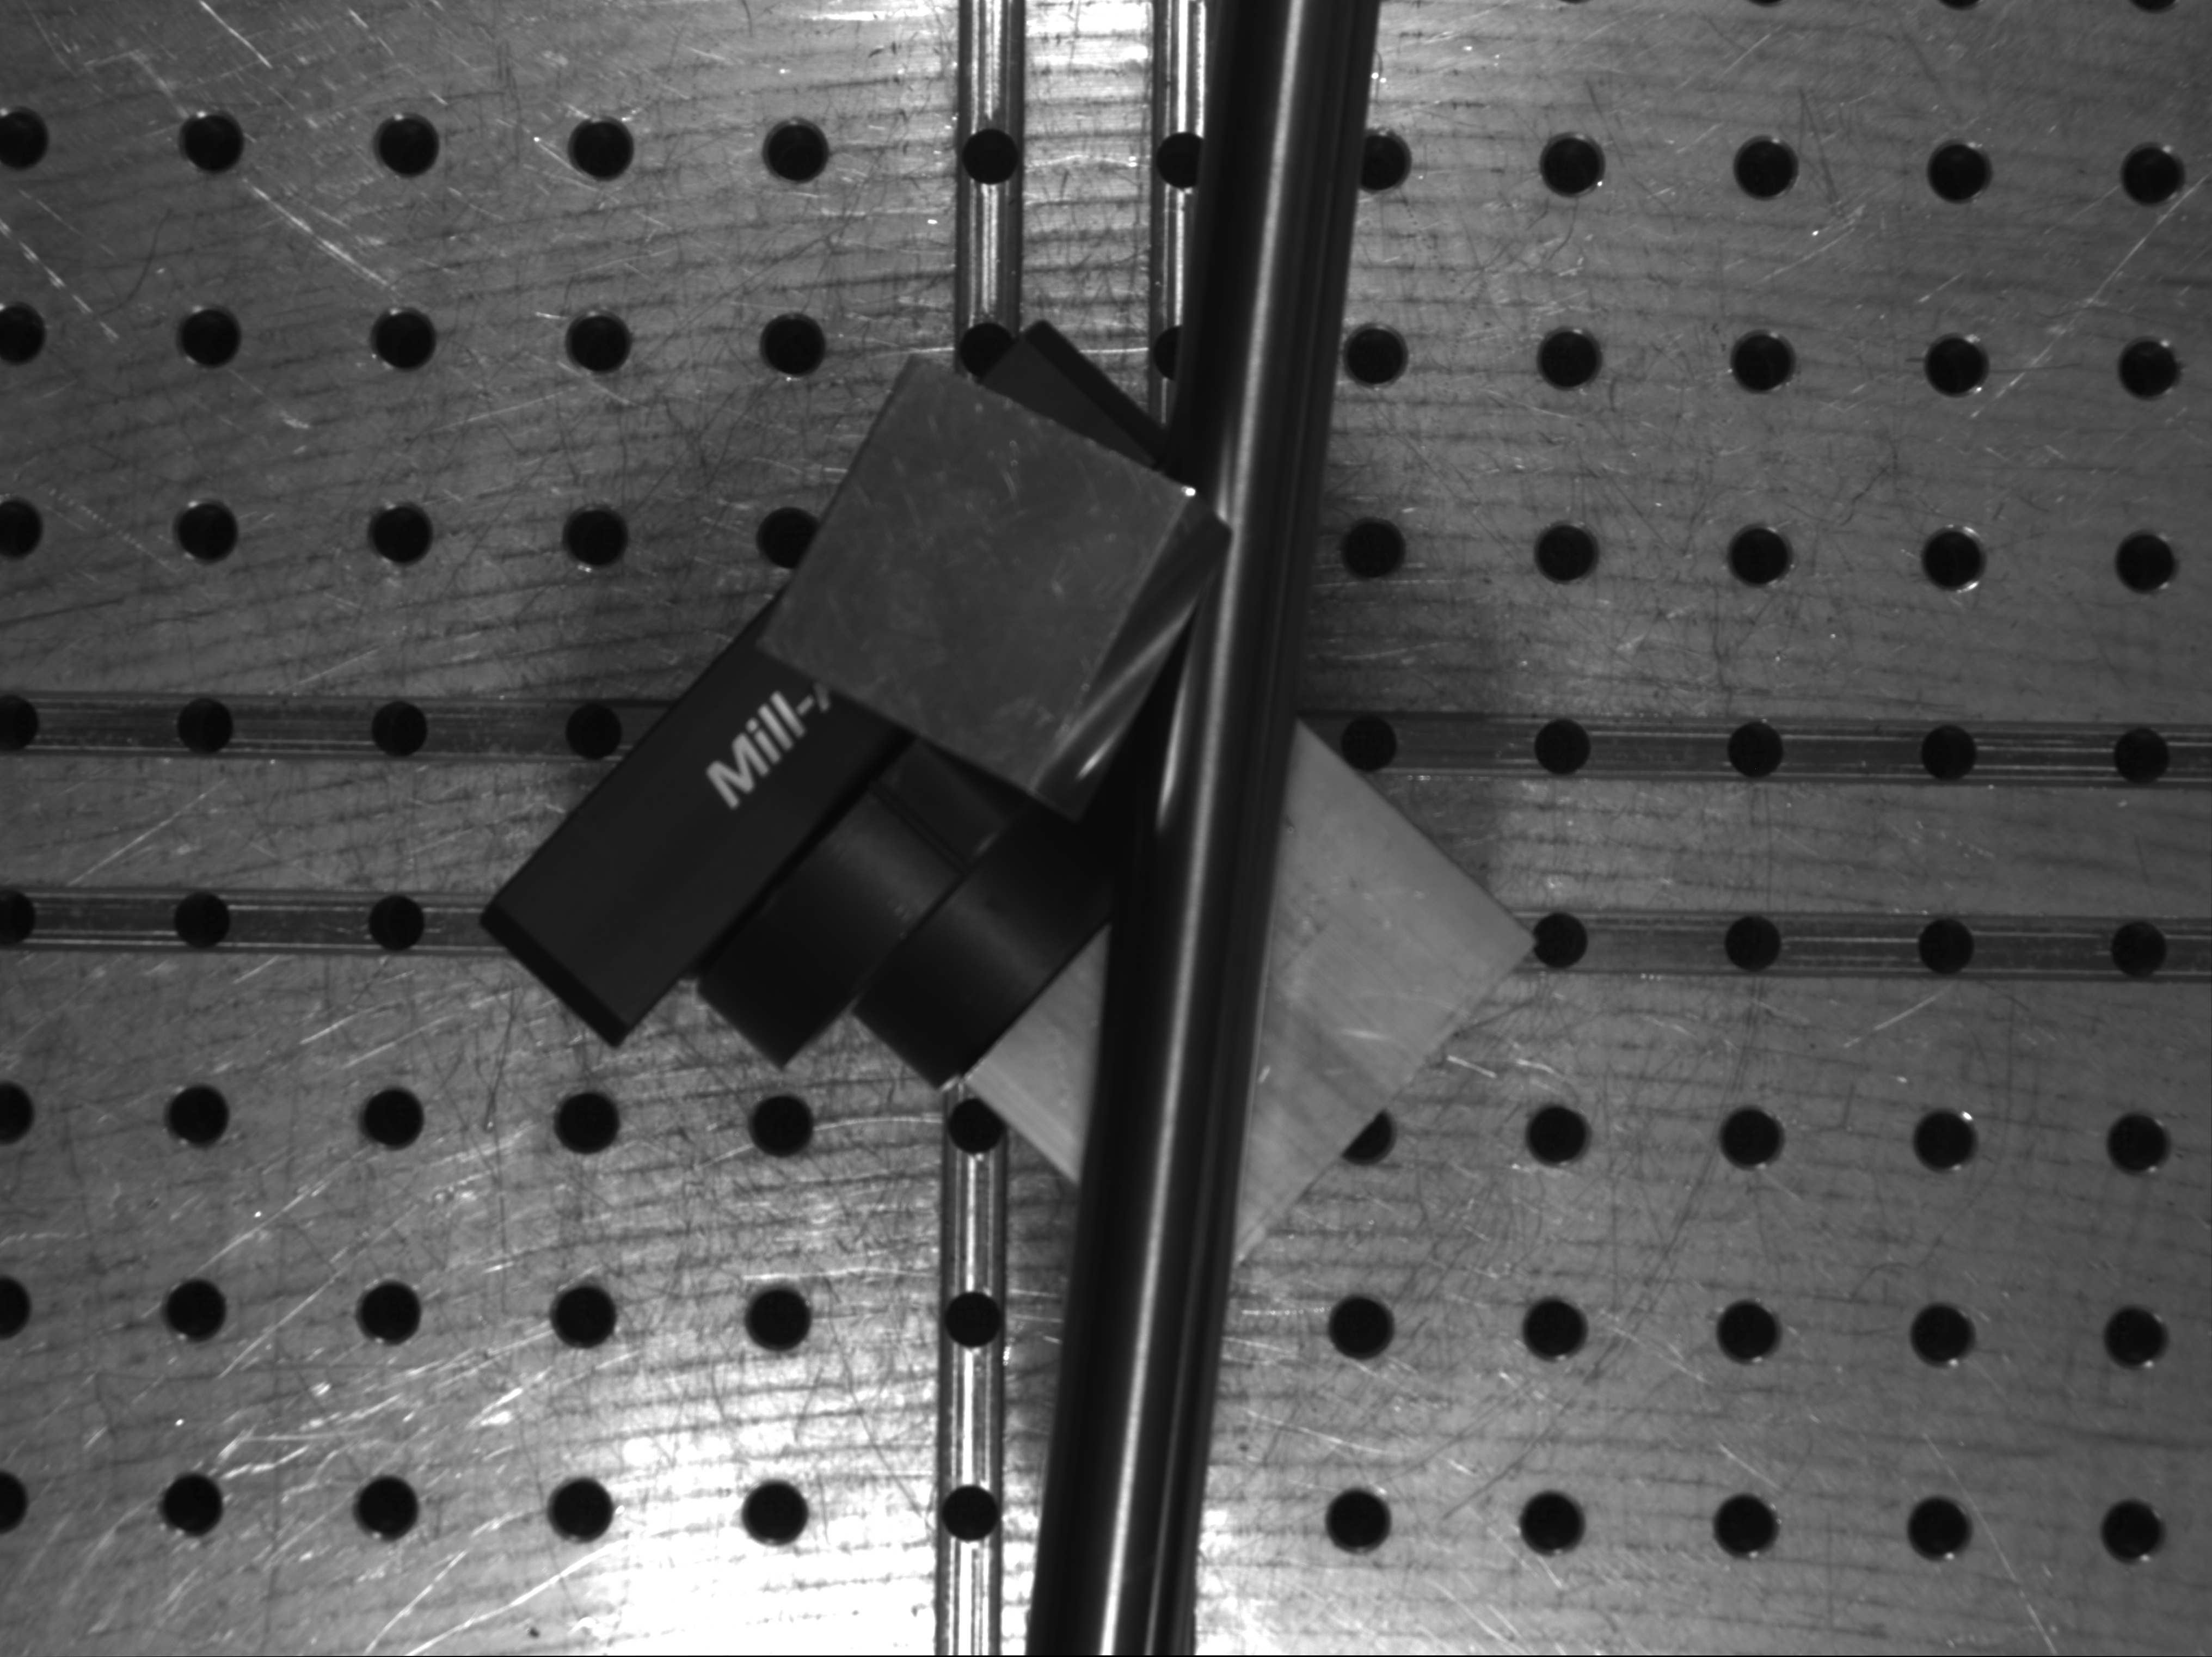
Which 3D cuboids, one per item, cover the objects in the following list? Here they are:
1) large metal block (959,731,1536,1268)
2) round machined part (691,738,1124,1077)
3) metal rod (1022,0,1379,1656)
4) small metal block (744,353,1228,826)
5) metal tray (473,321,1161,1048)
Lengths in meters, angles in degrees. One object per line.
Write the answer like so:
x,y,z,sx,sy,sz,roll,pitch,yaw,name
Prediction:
0.022,0.031,0.617,0.050,0.080,0.080,43,90,0,large metal block
-0.022,0.003,0.615,0.042,0.098,0.098,42,90,0,round machined part
0.013,0.015,0.567,0.025,0.025,0.300,7,90,0,metal rod
-0.018,-0.036,0.550,0.050,0.025,0.050,28,88,19,small metal block
-0.045,-0.023,0.615,0.030,0.090,0.130,43,90,0,metal tray
